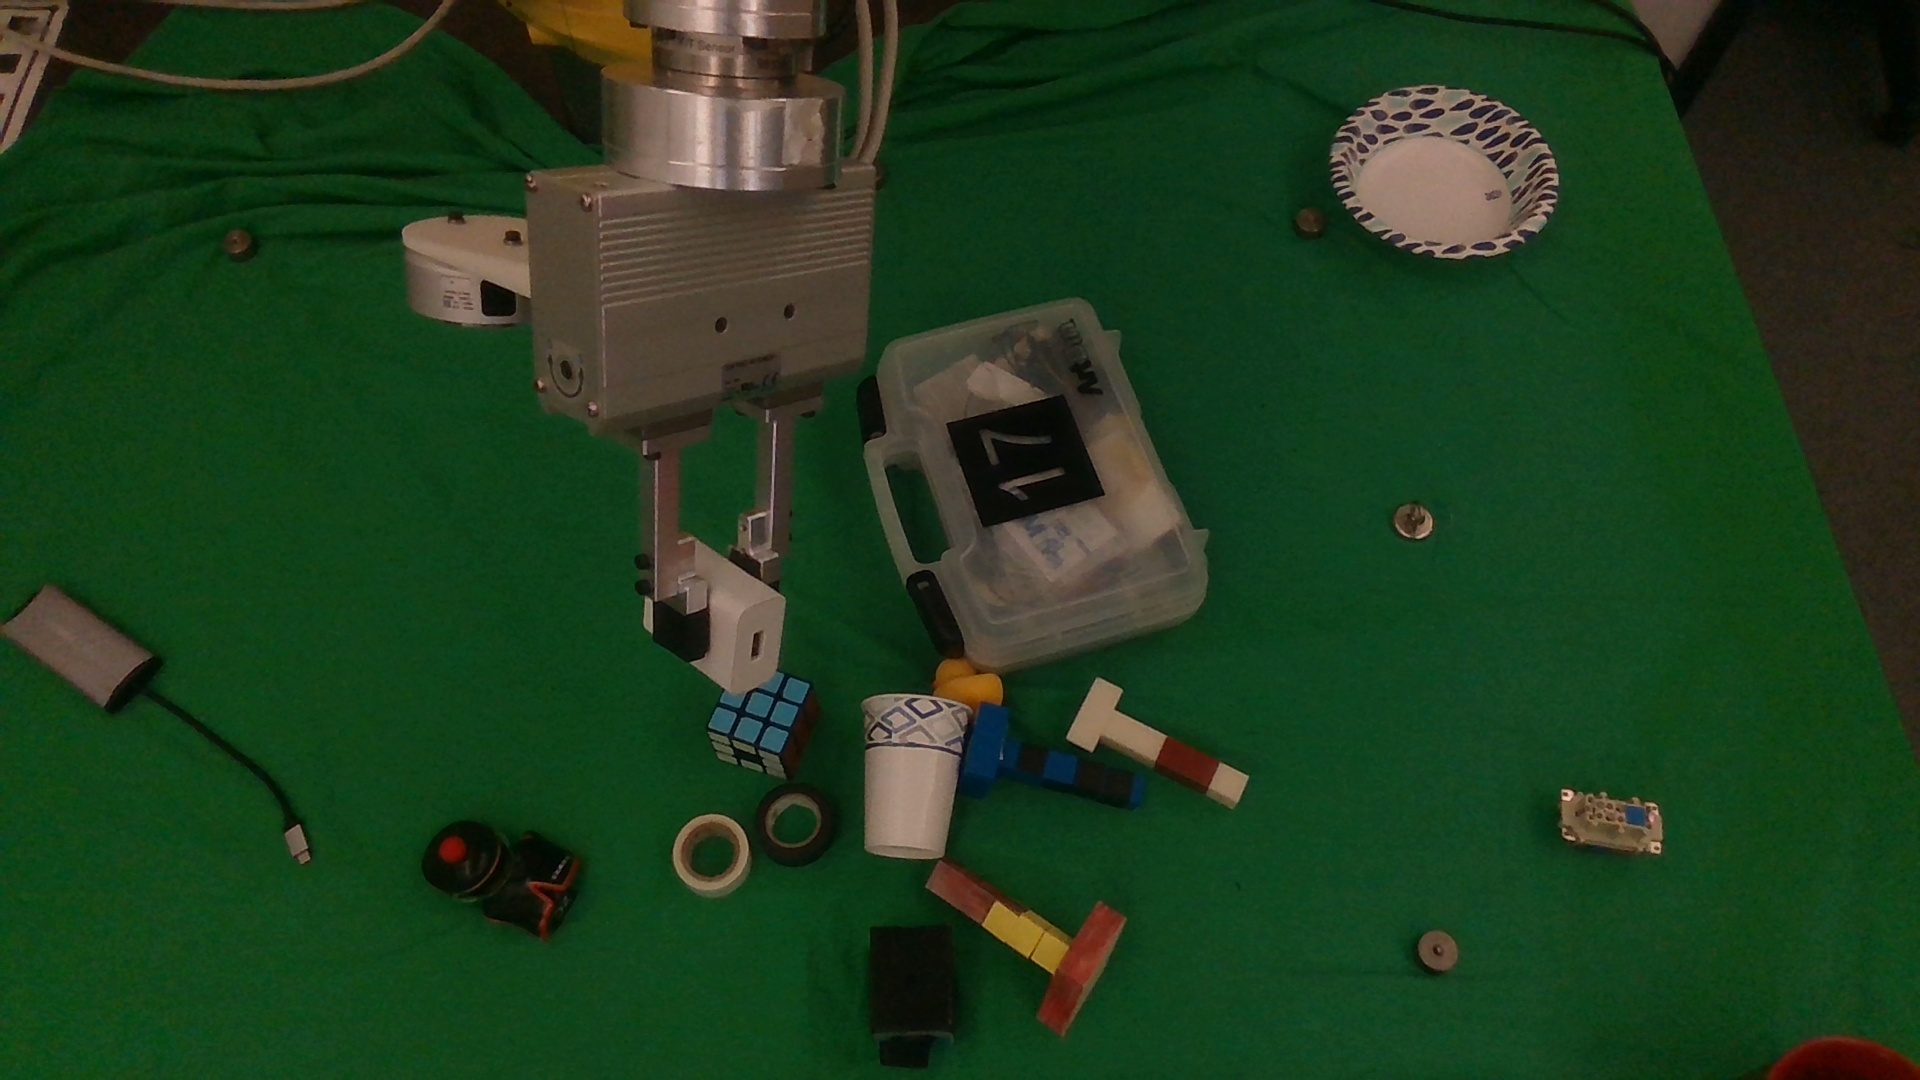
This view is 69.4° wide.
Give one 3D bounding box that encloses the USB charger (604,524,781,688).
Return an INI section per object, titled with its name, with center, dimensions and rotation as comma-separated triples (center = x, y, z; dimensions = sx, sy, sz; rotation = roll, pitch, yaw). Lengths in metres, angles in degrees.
[USB charger]
center = -0.106, 0.019, 0.522
dimensions = 0.076, 0.045, 0.029
rotation = 32, 26, 25

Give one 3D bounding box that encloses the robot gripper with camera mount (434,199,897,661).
[robot gripper with camera mount]
center = -0.141, -0.061, 0.531
dimensions = 0.194, 0.158, 0.118
rotation = 26, 29, 37
